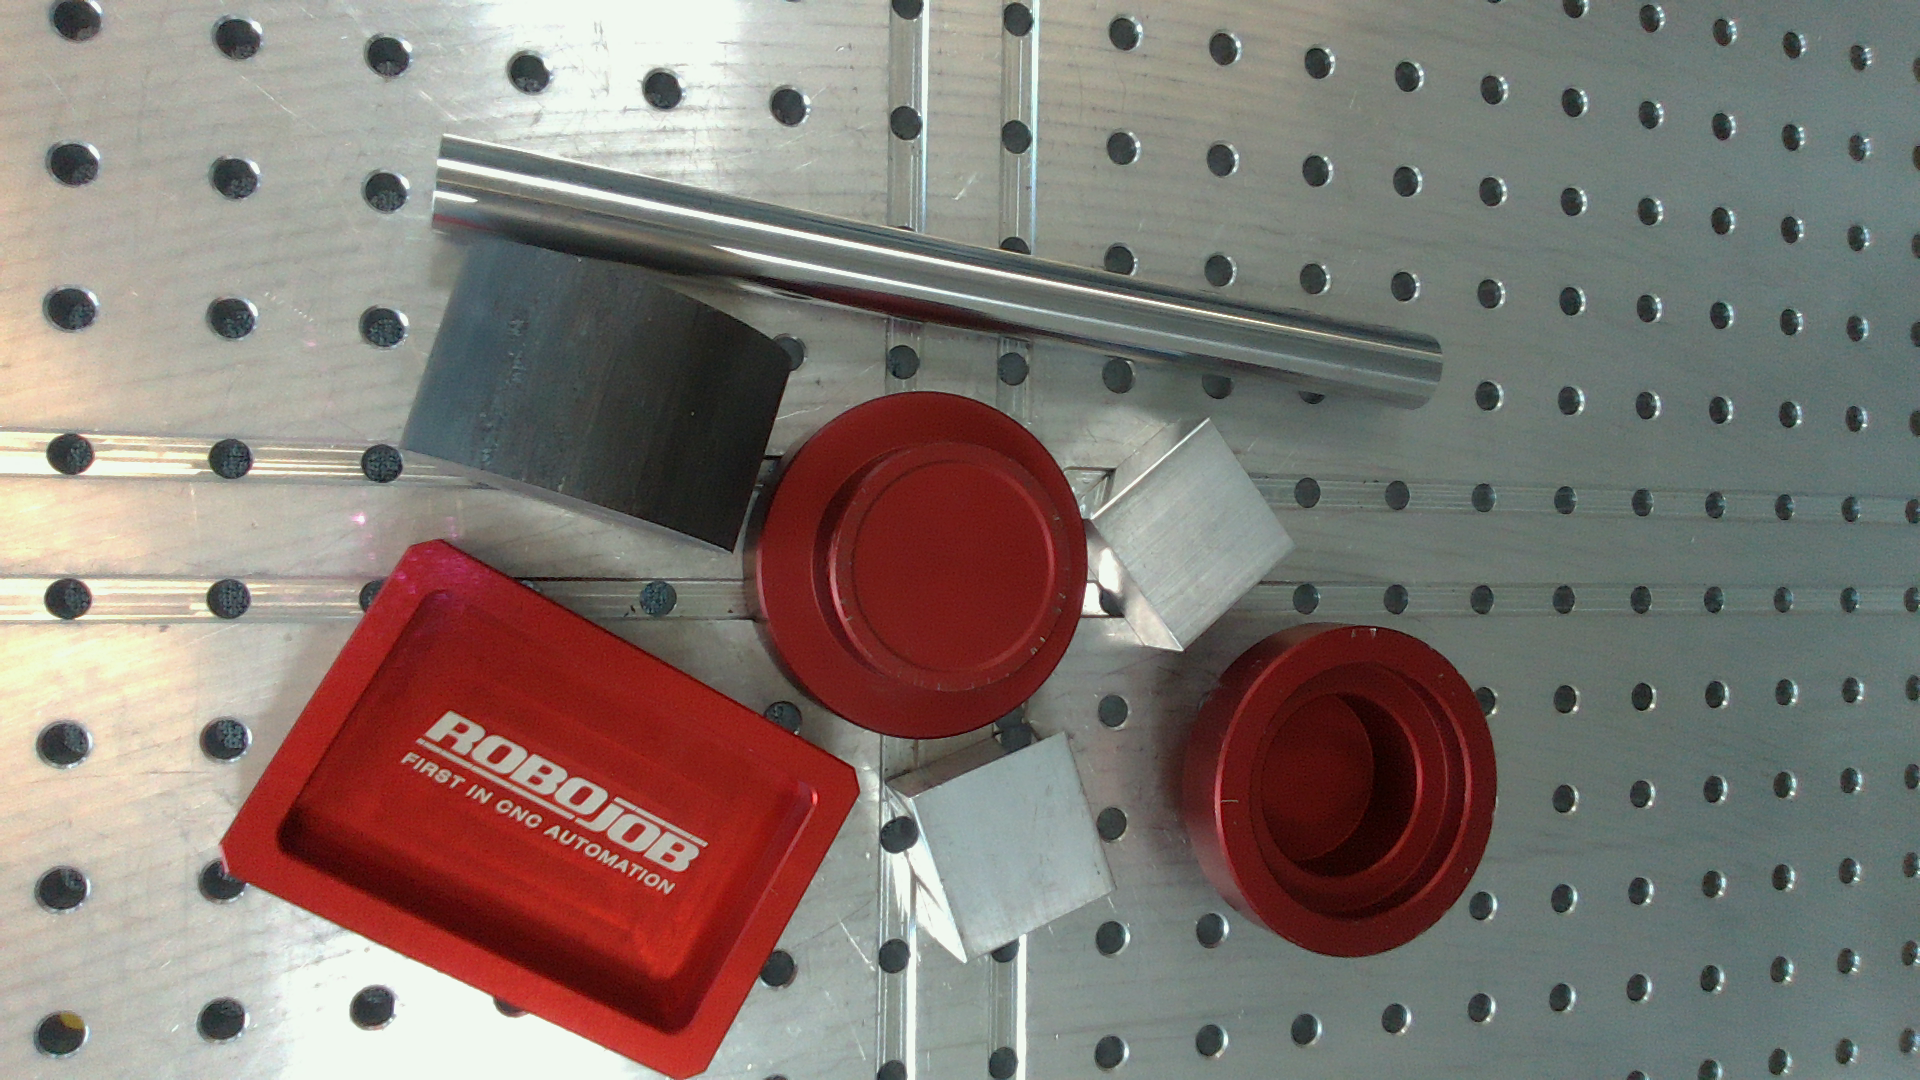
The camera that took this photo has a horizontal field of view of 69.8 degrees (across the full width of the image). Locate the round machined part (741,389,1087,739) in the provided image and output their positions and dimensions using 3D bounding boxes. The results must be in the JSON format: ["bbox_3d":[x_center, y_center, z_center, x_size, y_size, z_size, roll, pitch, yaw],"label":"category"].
[{"bbox_3d":[-0.009,0.006,0.383,0.098,0.042,0.098,1,87,-20],"label":"round machined part"}]

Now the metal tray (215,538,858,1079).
[{"bbox_3d":[-0.104,0.069,0.355,0.130,0.030,0.090,32,80,-17],"label":"metal tray"}]

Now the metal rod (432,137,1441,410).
[{"bbox_3d":[0.009,-0.072,0.398,0.301,0.025,0.025,7,88,-20],"label":"metal rod"}]

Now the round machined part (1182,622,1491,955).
[{"bbox_3d":[0.112,0.074,0.428,0.098,0.042,0.098,0,90,-20],"label":"round machined part"}]

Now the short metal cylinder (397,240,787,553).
[{"bbox_3d":[-0.088,-0.033,0.334,0.080,0.080,0.050,19,84,-19],"label":"short metal cylinder"}]

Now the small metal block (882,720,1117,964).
[{"bbox_3d":[0.011,0.086,0.400,0.050,0.025,0.050,-20,97,-19],"label":"small metal block"}]

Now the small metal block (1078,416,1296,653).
[{"bbox_3d":[0.066,-0.002,0.420,0.050,0.025,0.050,-40,103,-15],"label":"small metal block"}]
